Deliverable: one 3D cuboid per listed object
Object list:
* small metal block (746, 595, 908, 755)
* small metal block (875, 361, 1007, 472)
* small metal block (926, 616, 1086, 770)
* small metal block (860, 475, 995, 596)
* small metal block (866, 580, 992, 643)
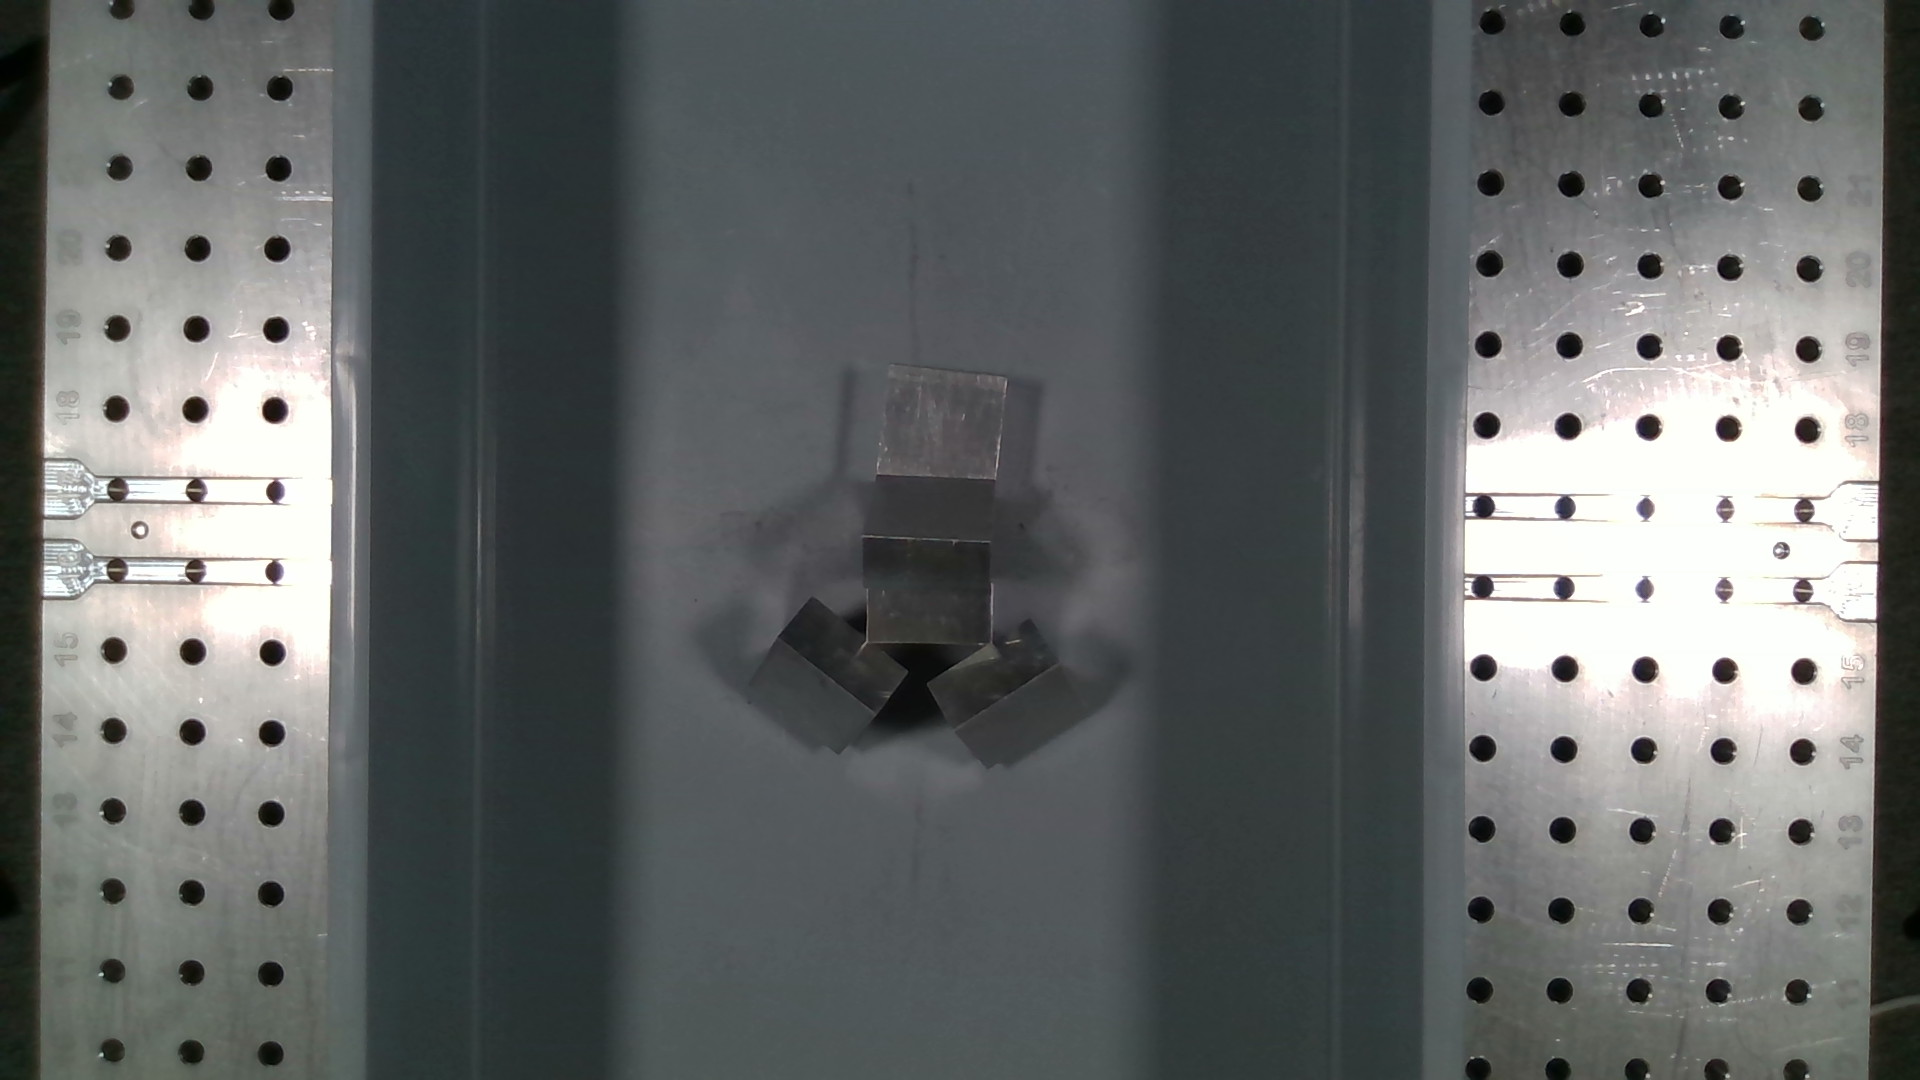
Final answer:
[{"bbox_3d":[-0.056,0.057,0.571,0.050,0.050,0.025,38,55,-1],"label":"small metal block"},{"bbox_3d":[-0.008,-0.047,0.584,0.050,0.025,0.050,6,90,0],"label":"small metal block"},{"bbox_3d":[0.020,0.064,0.571,0.050,0.050,0.025,-32,58,0],"label":"small metal block"},{"bbox_3d":[-0.012,-0.003,0.555,0.050,0.050,0.025,2,122,3],"label":"small metal block"},{"bbox_3d":[-0.012,0.028,0.574,0.050,0.050,0.025,1,90,0],"label":"small metal block"}]
